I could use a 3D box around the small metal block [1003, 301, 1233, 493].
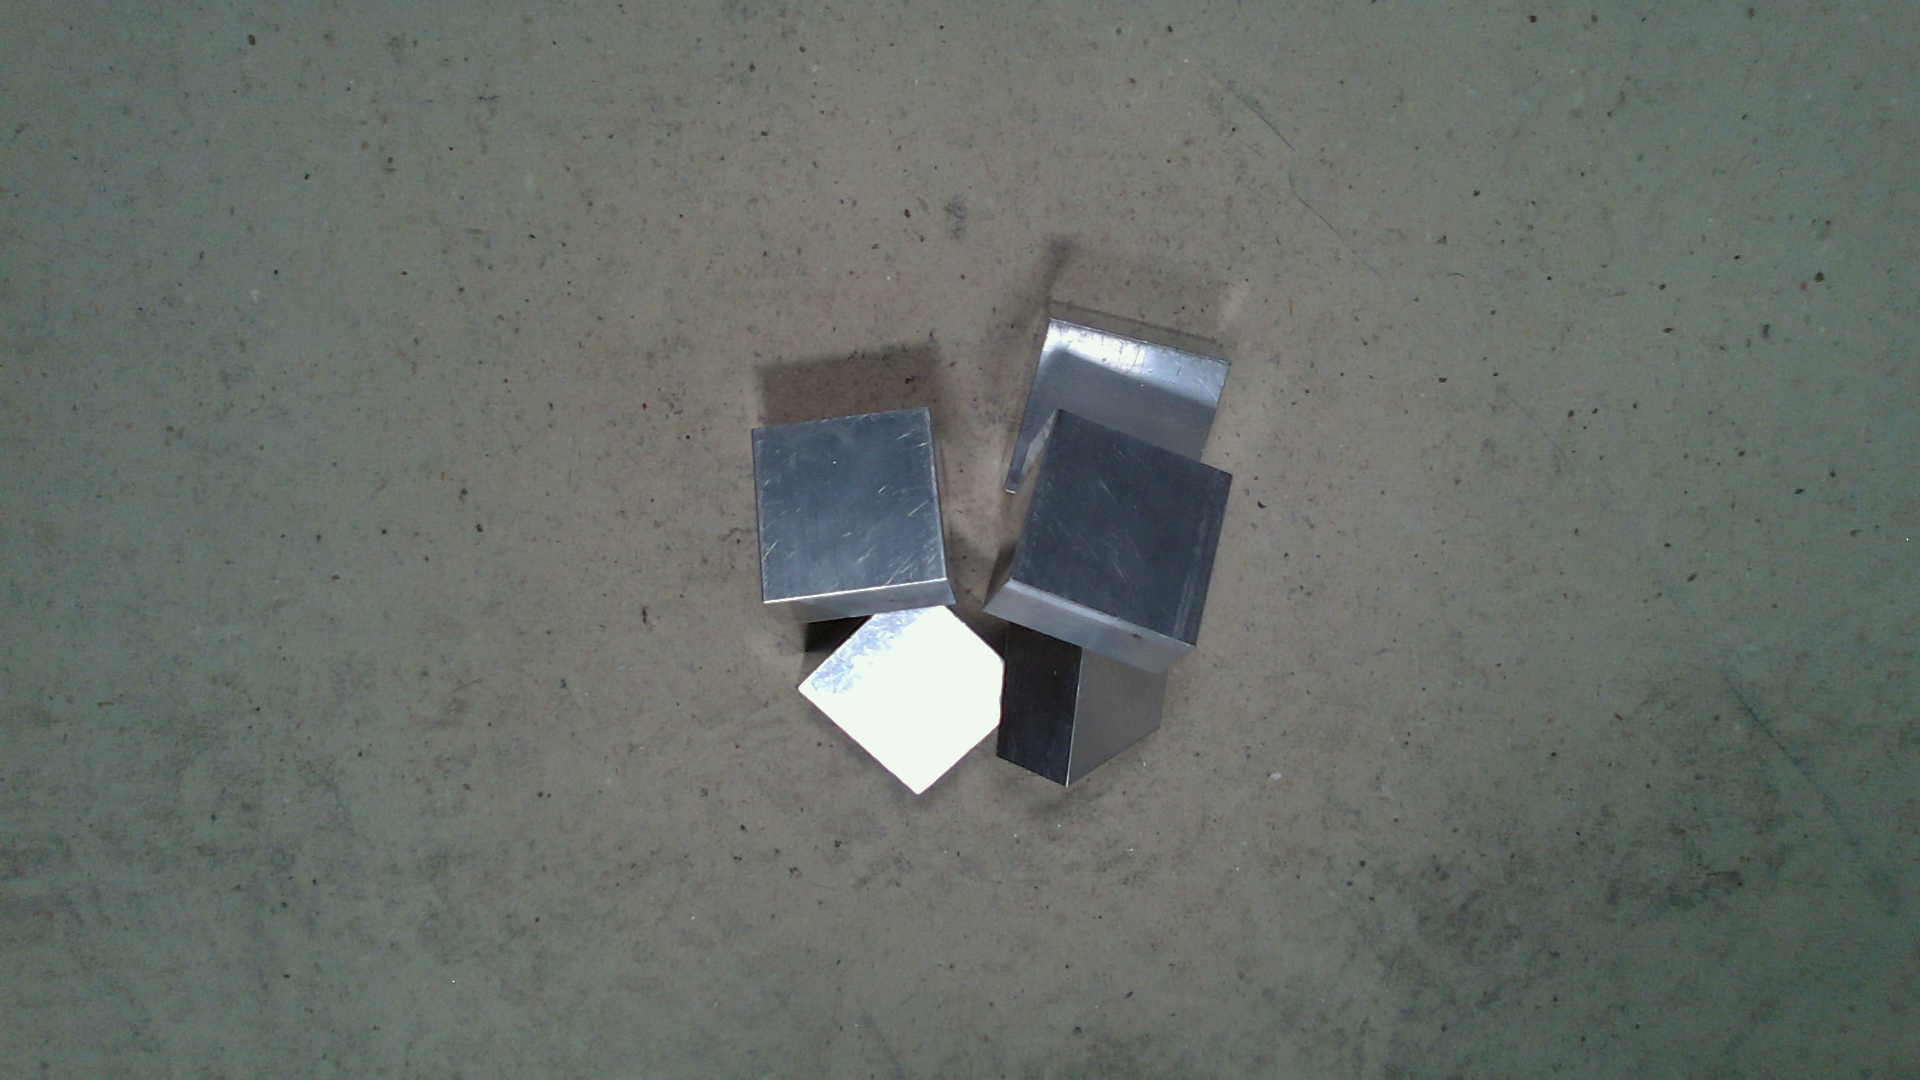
[{"bbox_3d":[0.042,-0.035,0.382,0.050,0.025,0.050,13,110,-5],"label":"small metal block"}]

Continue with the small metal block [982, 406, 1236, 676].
[{"bbox_3d":[0.039,0.001,0.353,0.050,0.025,0.050,20,66,-8],"label":"small metal block"}]

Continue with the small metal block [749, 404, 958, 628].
[{"bbox_3d":[-0.029,-0.006,0.378,0.050,0.025,0.050,-7,72,2],"label":"small metal block"}]

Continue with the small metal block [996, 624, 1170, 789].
[{"bbox_3d":[0.037,0.035,0.392,0.025,0.050,0.050,19,114,34],"label":"small metal block"}]

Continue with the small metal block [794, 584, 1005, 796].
[{"bbox_3d":[-0.013,0.039,0.408,0.050,0.025,0.050,-43,105,14],"label":"small metal block"}]

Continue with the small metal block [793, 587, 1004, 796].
[{"bbox_3d":[-0.013,0.039,0.409,0.050,0.025,0.050,-43,104,14],"label":"small metal block"}]
